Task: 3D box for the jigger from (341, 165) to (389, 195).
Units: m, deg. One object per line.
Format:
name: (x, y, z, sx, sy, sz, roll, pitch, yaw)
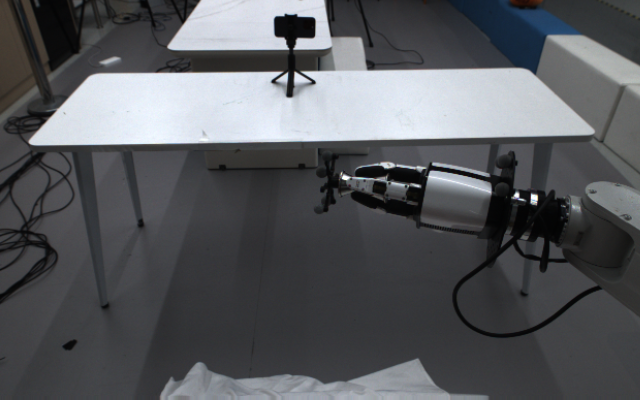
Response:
jigger: (0.070, -0.024, 0.696, 0.071, 0.043, 0.043, 6, 35, 15)
